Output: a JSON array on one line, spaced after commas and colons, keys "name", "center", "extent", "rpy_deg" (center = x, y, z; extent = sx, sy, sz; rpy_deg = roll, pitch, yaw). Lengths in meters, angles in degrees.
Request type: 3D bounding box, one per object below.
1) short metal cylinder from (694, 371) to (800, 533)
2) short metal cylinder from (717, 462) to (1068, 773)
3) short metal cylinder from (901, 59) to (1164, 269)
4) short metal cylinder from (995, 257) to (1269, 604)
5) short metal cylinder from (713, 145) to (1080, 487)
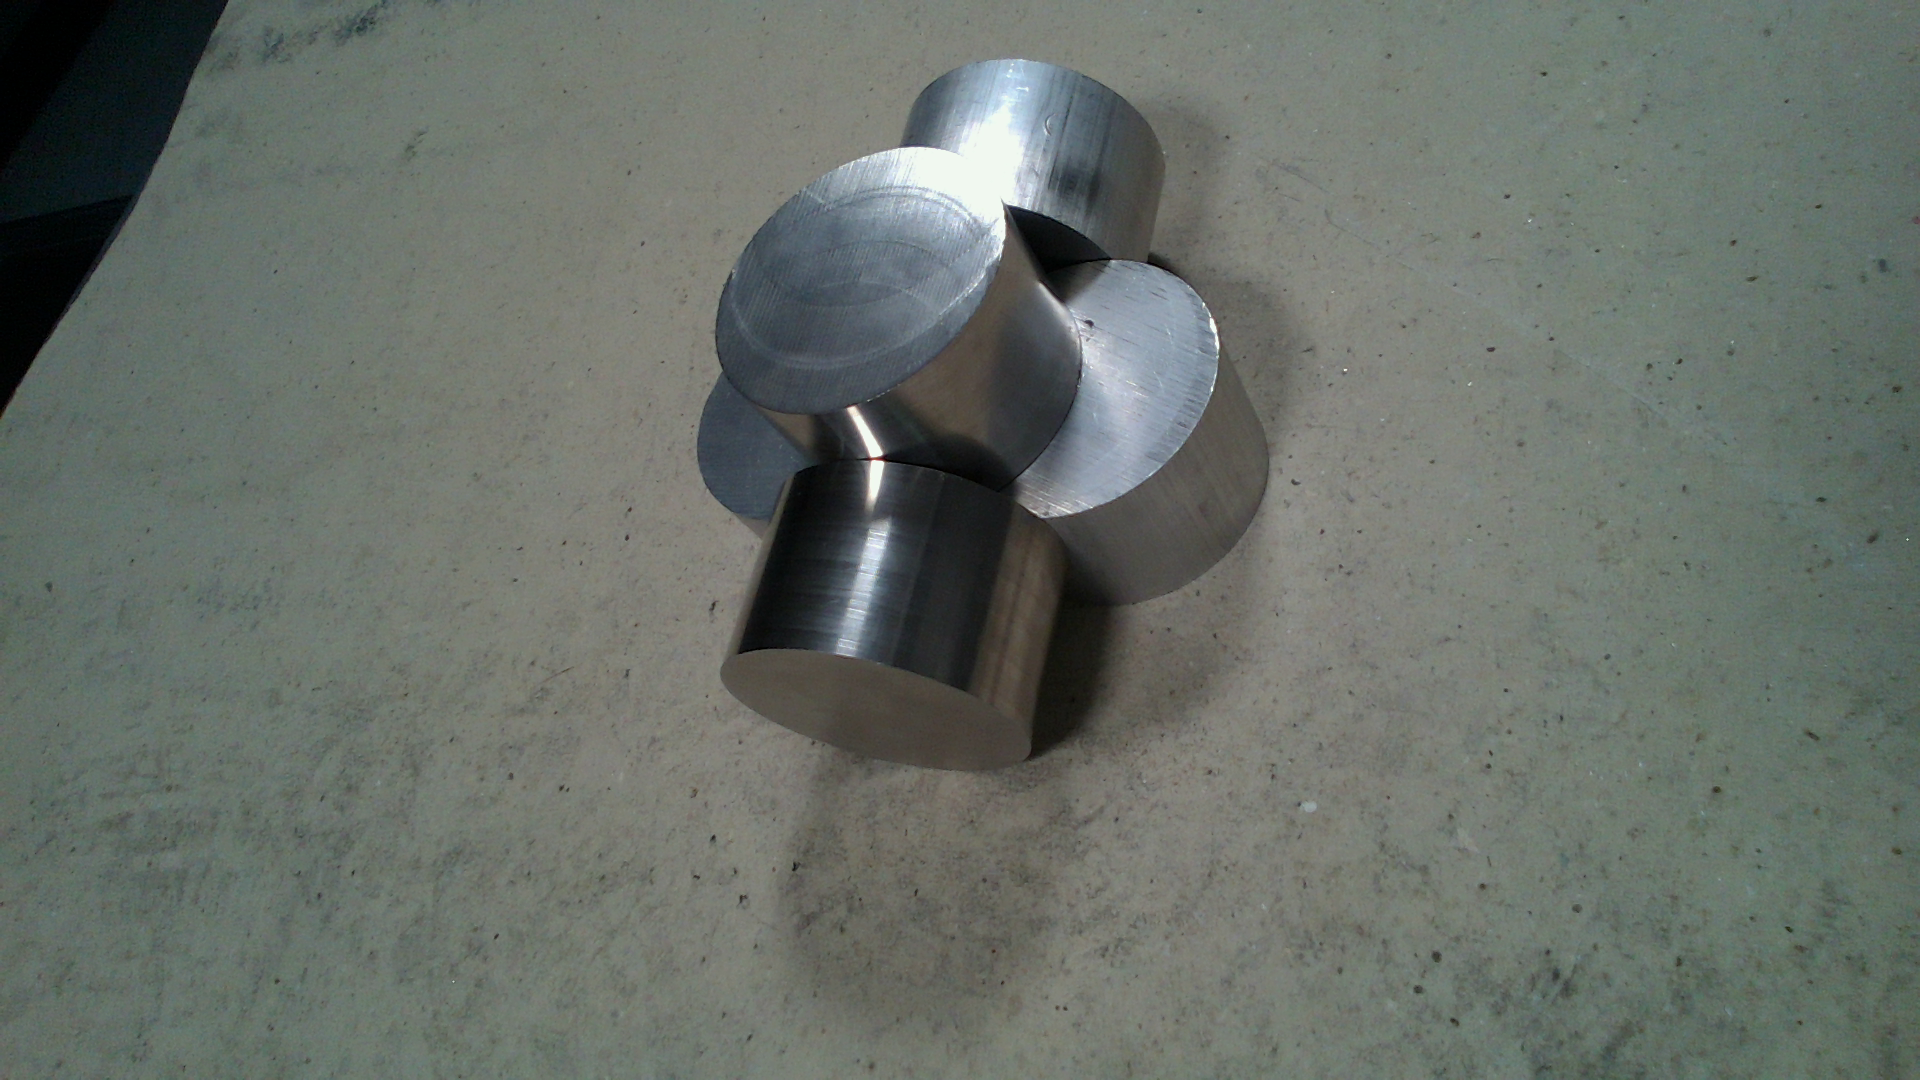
[{"name": "short metal cylinder", "center": [-0.032, -0.029, 0.412], "extent": [0.080, 0.050, 0.080], "rpy_deg": [-14, 56, 21]}, {"name": "short metal cylinder", "center": [-0.016, 0.022, 0.354], "extent": [0.080, 0.080, 0.050], "rpy_deg": [0, 62, 29]}, {"name": "short metal cylinder", "center": [0.017, -0.094, 0.407], "extent": [0.080, 0.080, 0.050], "rpy_deg": [0, 61, 28]}, {"name": "short metal cylinder", "center": [0.038, -0.029, 0.375], "extent": [0.080, 0.050, 0.080], "rpy_deg": [-14, 56, 21]}, {"name": "short metal cylinder", "center": [-0.015, -0.053, 0.353], "extent": [0.080, 0.050, 0.080], "rpy_deg": [-14, 56, 21]}]
